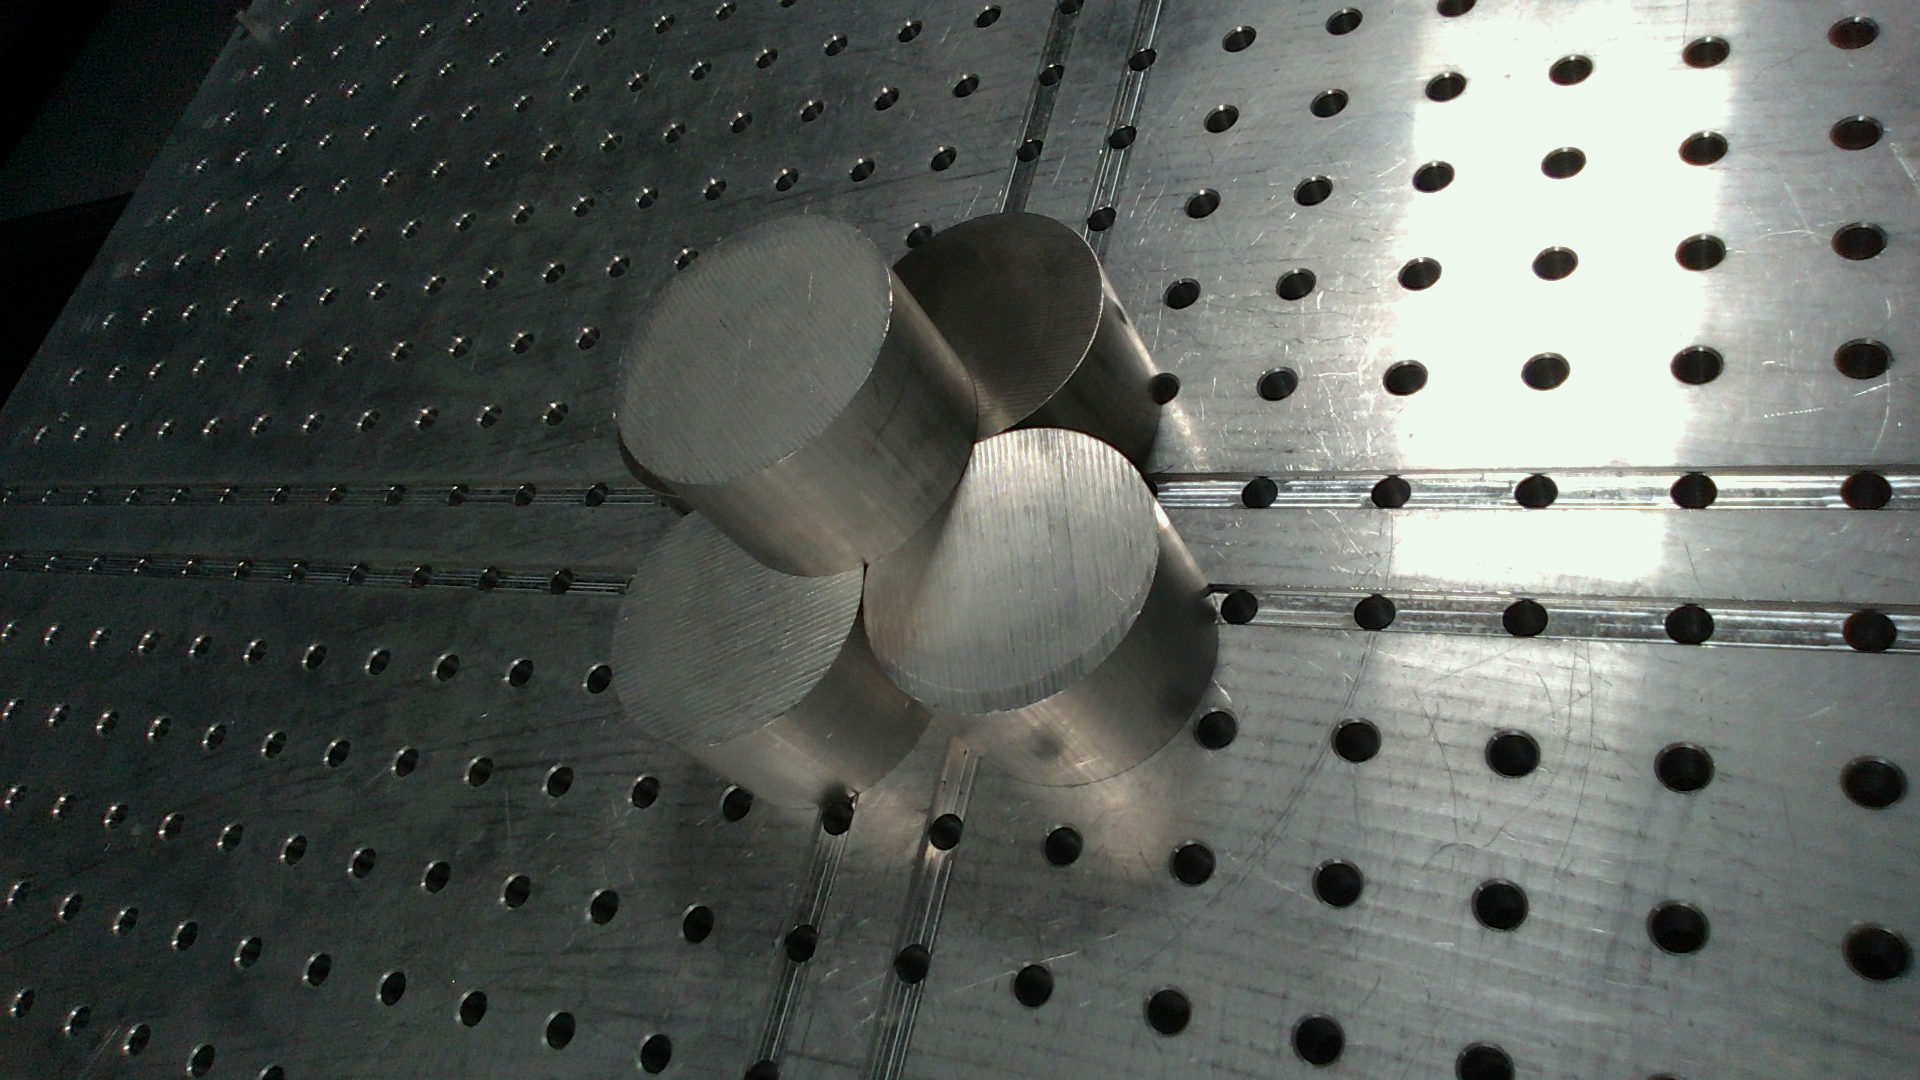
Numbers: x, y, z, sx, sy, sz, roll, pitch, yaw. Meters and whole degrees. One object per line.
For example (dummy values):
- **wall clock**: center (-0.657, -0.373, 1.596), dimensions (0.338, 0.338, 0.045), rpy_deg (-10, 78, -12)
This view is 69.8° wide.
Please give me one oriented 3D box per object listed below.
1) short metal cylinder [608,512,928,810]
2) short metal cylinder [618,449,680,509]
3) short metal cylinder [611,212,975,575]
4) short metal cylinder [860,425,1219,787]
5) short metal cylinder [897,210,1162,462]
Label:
- **short metal cylinder**: center (-0.051, 0.030, 0.389), dimensions (0.080, 0.050, 0.080), rpy_deg (-14, 56, 21)
- **short metal cylinder**: center (-0.060, -0.036, 0.435), dimensions (0.080, 0.050, 0.080), rpy_deg (-14, 56, 21)
- **short metal cylinder**: center (-0.043, -0.038, 0.360), dimensions (0.080, 0.050, 0.080), rpy_deg (-13, 58, 21)
- **short metal cylinder**: center (0.021, 0.017, 0.357), dimensions (0.080, 0.050, 0.080), rpy_deg (-14, 56, 21)
- **short metal cylinder**: center (0.013, -0.049, 0.403), dimensions (0.080, 0.050, 0.080), rpy_deg (-14, 56, 21)
